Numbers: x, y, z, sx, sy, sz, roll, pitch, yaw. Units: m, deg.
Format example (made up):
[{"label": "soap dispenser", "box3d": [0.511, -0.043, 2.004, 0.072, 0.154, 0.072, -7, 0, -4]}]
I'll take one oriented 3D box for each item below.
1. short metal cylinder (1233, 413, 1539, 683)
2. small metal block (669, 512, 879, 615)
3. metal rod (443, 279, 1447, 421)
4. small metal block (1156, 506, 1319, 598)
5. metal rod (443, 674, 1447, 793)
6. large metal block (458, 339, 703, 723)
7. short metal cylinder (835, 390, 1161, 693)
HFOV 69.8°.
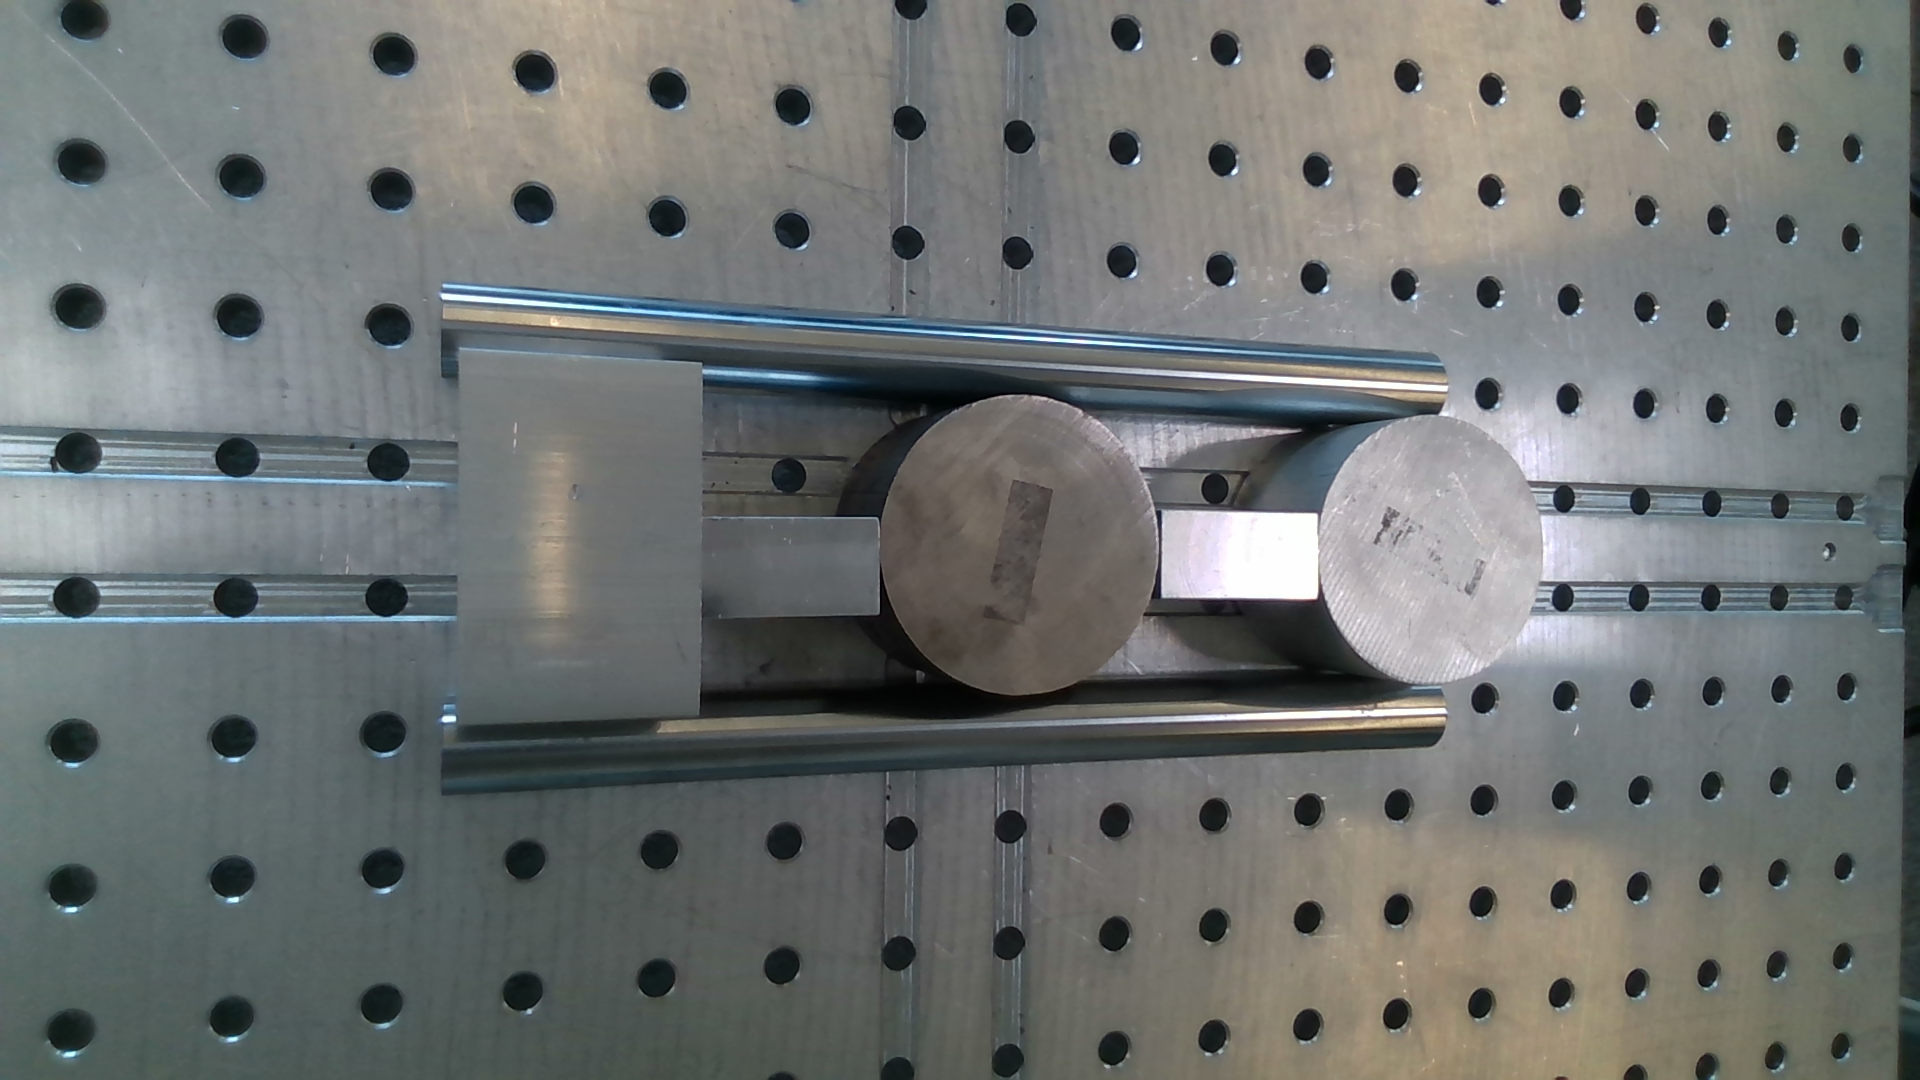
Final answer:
[{"label": "short metal cylinder", "box3d": [0.131, 0.002, 0.431, 0.080, 0.050, 0.080, 0, 90, -20]}, {"label": "small metal block", "box3d": [-0.053, 0.006, 0.363, 0.050, 0.050, 0.025, 0, 90, -20]}, {"label": "metal rod", "box3d": [0.010, -0.051, 0.399, 0.300, 0.025, 0.025, 1, 90, -20]}, {"label": "small metal block", "box3d": [0.070, 0.004, 0.408, 0.050, 0.050, 0.025, 1, 90, -20]}, {"label": "metal rod", "box3d": [0.010, 0.053, 0.400, 0.300, 0.025, 0.025, 1, 90, -20]}, {"label": "large metal block", "box3d": [-0.094, -0.001, 0.333, 0.050, 0.080, 0.080, 1, 90, -20]}, {"label": "short metal cylinder", "box3d": [0.009, 0.000, 0.386, 0.080, 0.050, 0.080, 0, 90, -20]}]
